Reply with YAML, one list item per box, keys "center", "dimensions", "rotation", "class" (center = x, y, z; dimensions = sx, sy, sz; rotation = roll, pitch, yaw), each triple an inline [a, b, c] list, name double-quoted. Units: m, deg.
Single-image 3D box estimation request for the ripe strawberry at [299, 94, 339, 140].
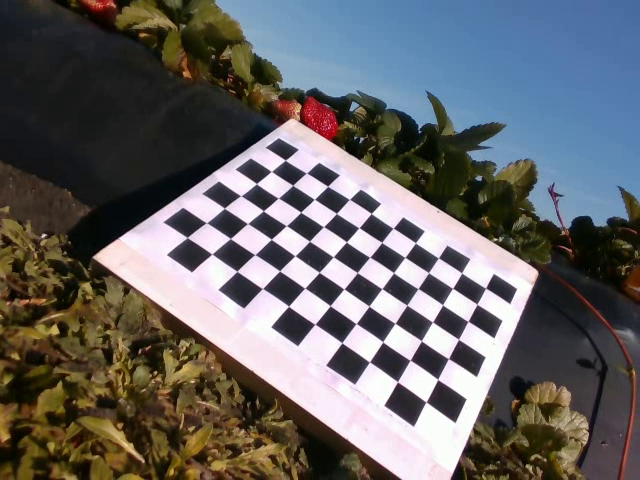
- center: [-0.008, -0.128, 0.629]
  dimensions: [0.058, 0.066, 0.062]
  rotation: [-18, -35, -1]
  class: "ripe strawberry"
